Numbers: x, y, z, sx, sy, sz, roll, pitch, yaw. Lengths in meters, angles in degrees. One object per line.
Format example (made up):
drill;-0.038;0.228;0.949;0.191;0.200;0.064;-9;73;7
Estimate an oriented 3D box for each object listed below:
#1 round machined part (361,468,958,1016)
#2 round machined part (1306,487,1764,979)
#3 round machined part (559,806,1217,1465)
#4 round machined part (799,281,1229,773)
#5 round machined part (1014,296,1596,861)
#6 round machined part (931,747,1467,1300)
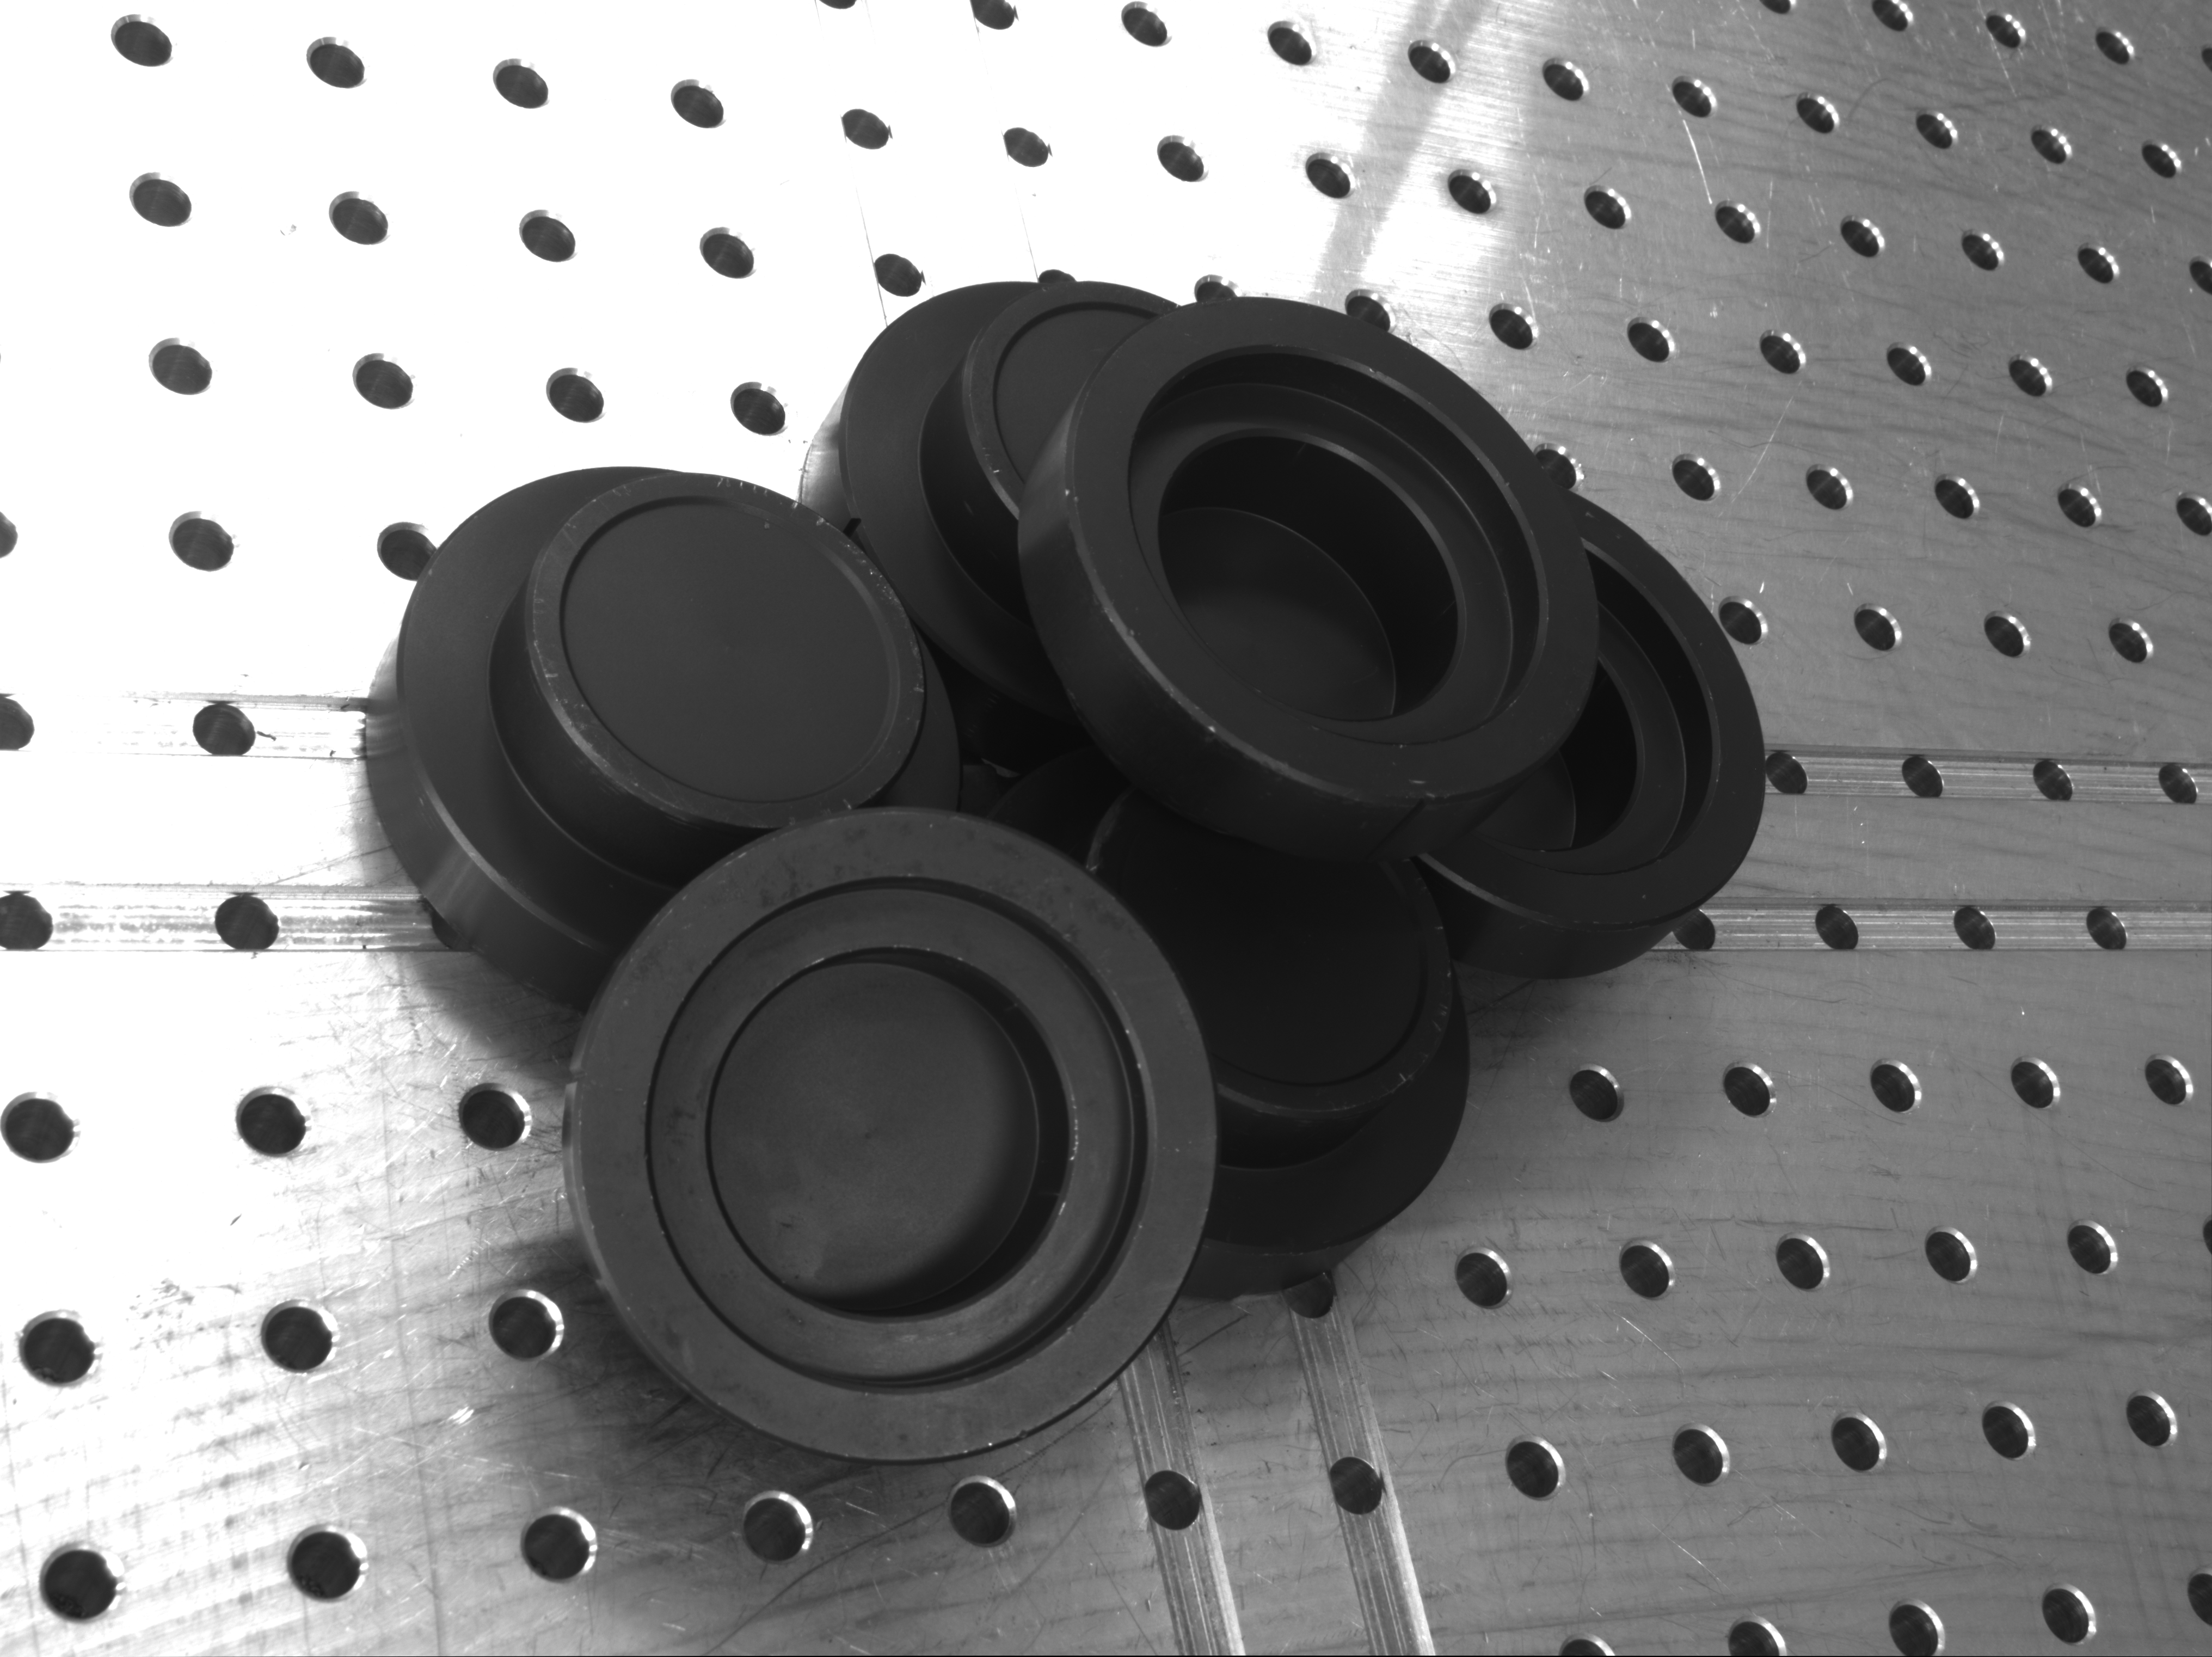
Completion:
round machined part;-0.069;-0.019;0.606;0.098;0.042;0.098;13;56;-21
round machined part;0.069;-0.016;0.677;0.098;0.042;0.098;13;56;-21
round machined part;-0.035;0.047;0.567;0.098;0.042;0.098;1;84;-14
round machined part;-0.003;-0.060;0.666;0.098;0.042;0.098;13;56;-21
round machined part;0.029;-0.037;0.615;0.098;0.042;0.098;13;56;-21
round machined part;0.019;0.027;0.625;0.098;0.042;0.098;13;56;-21
